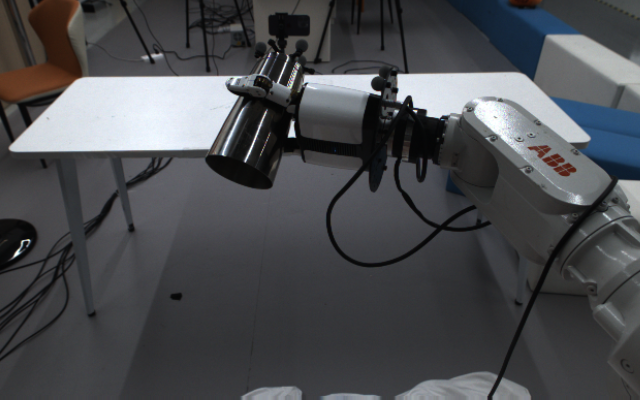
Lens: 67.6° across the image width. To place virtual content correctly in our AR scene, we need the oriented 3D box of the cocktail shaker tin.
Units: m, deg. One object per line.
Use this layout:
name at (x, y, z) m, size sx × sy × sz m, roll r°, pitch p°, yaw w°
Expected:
cocktail shaker tin at (-0.078, -0.111, 0.649) m, size 0.093 × 0.093 × 0.170 m, roll 13°, pitch 70°, yaw 15°
